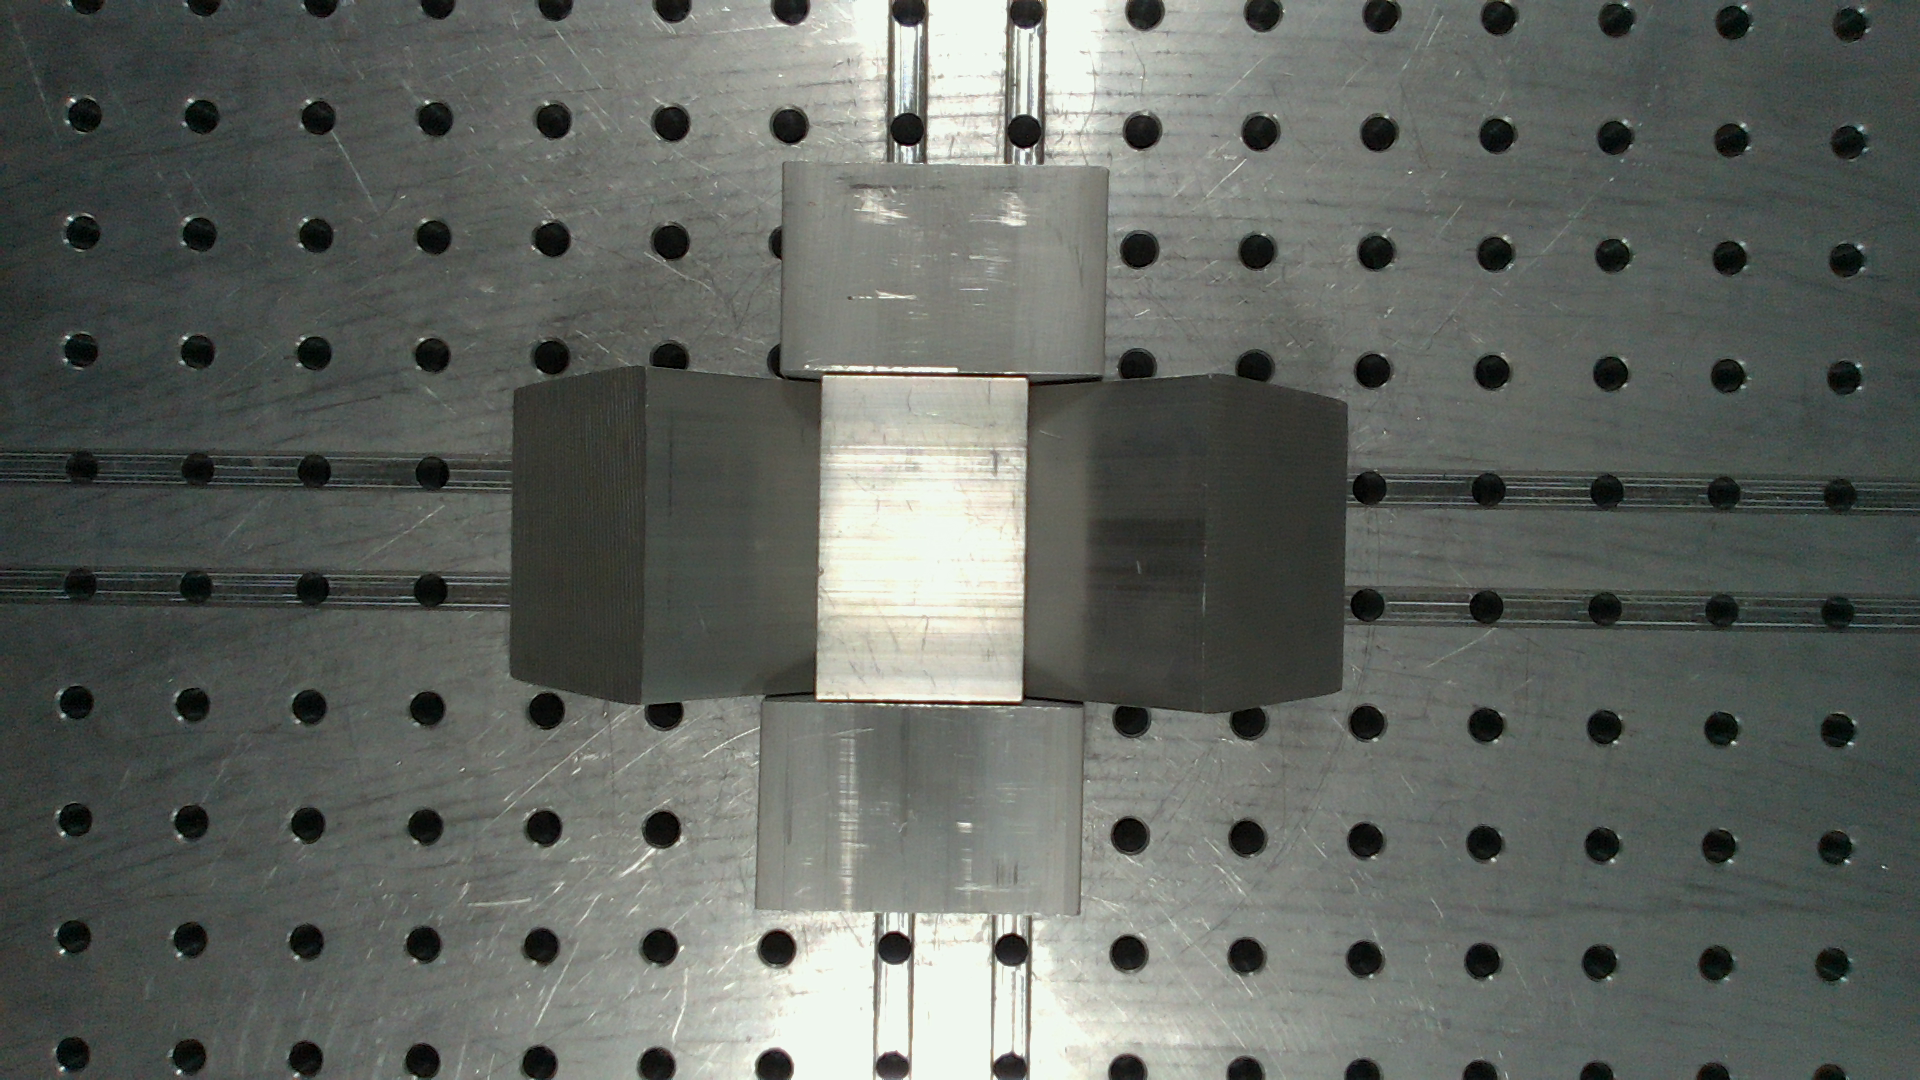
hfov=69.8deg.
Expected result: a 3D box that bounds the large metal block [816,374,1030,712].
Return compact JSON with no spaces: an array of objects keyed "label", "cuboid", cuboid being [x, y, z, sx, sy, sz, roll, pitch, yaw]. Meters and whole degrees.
[{"label":"large metal block","cuboid":[-0.009,0.001,0.369,0.050,0.080,0.080,1,90,0]}]

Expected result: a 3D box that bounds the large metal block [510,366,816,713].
[{"label":"large metal block","cuboid":[-0.079,-0.001,0.364,0.050,0.080,0.080,0,91,-39]}]

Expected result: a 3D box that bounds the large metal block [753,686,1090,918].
[{"label":"large metal block","cuboid":[-0.009,0.065,0.369,0.080,0.080,0.050,1,90,0]}]

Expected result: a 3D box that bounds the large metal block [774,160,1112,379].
[{"label":"large metal block","cuboid":[-0.004,-0.065,0.369,0.080,0.080,0.050,1,90,0]}]

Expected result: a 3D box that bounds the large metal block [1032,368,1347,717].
[{"label":"large metal block","cuboid":[0.062,0.001,0.362,0.050,0.080,0.080,1,90,38]}]
